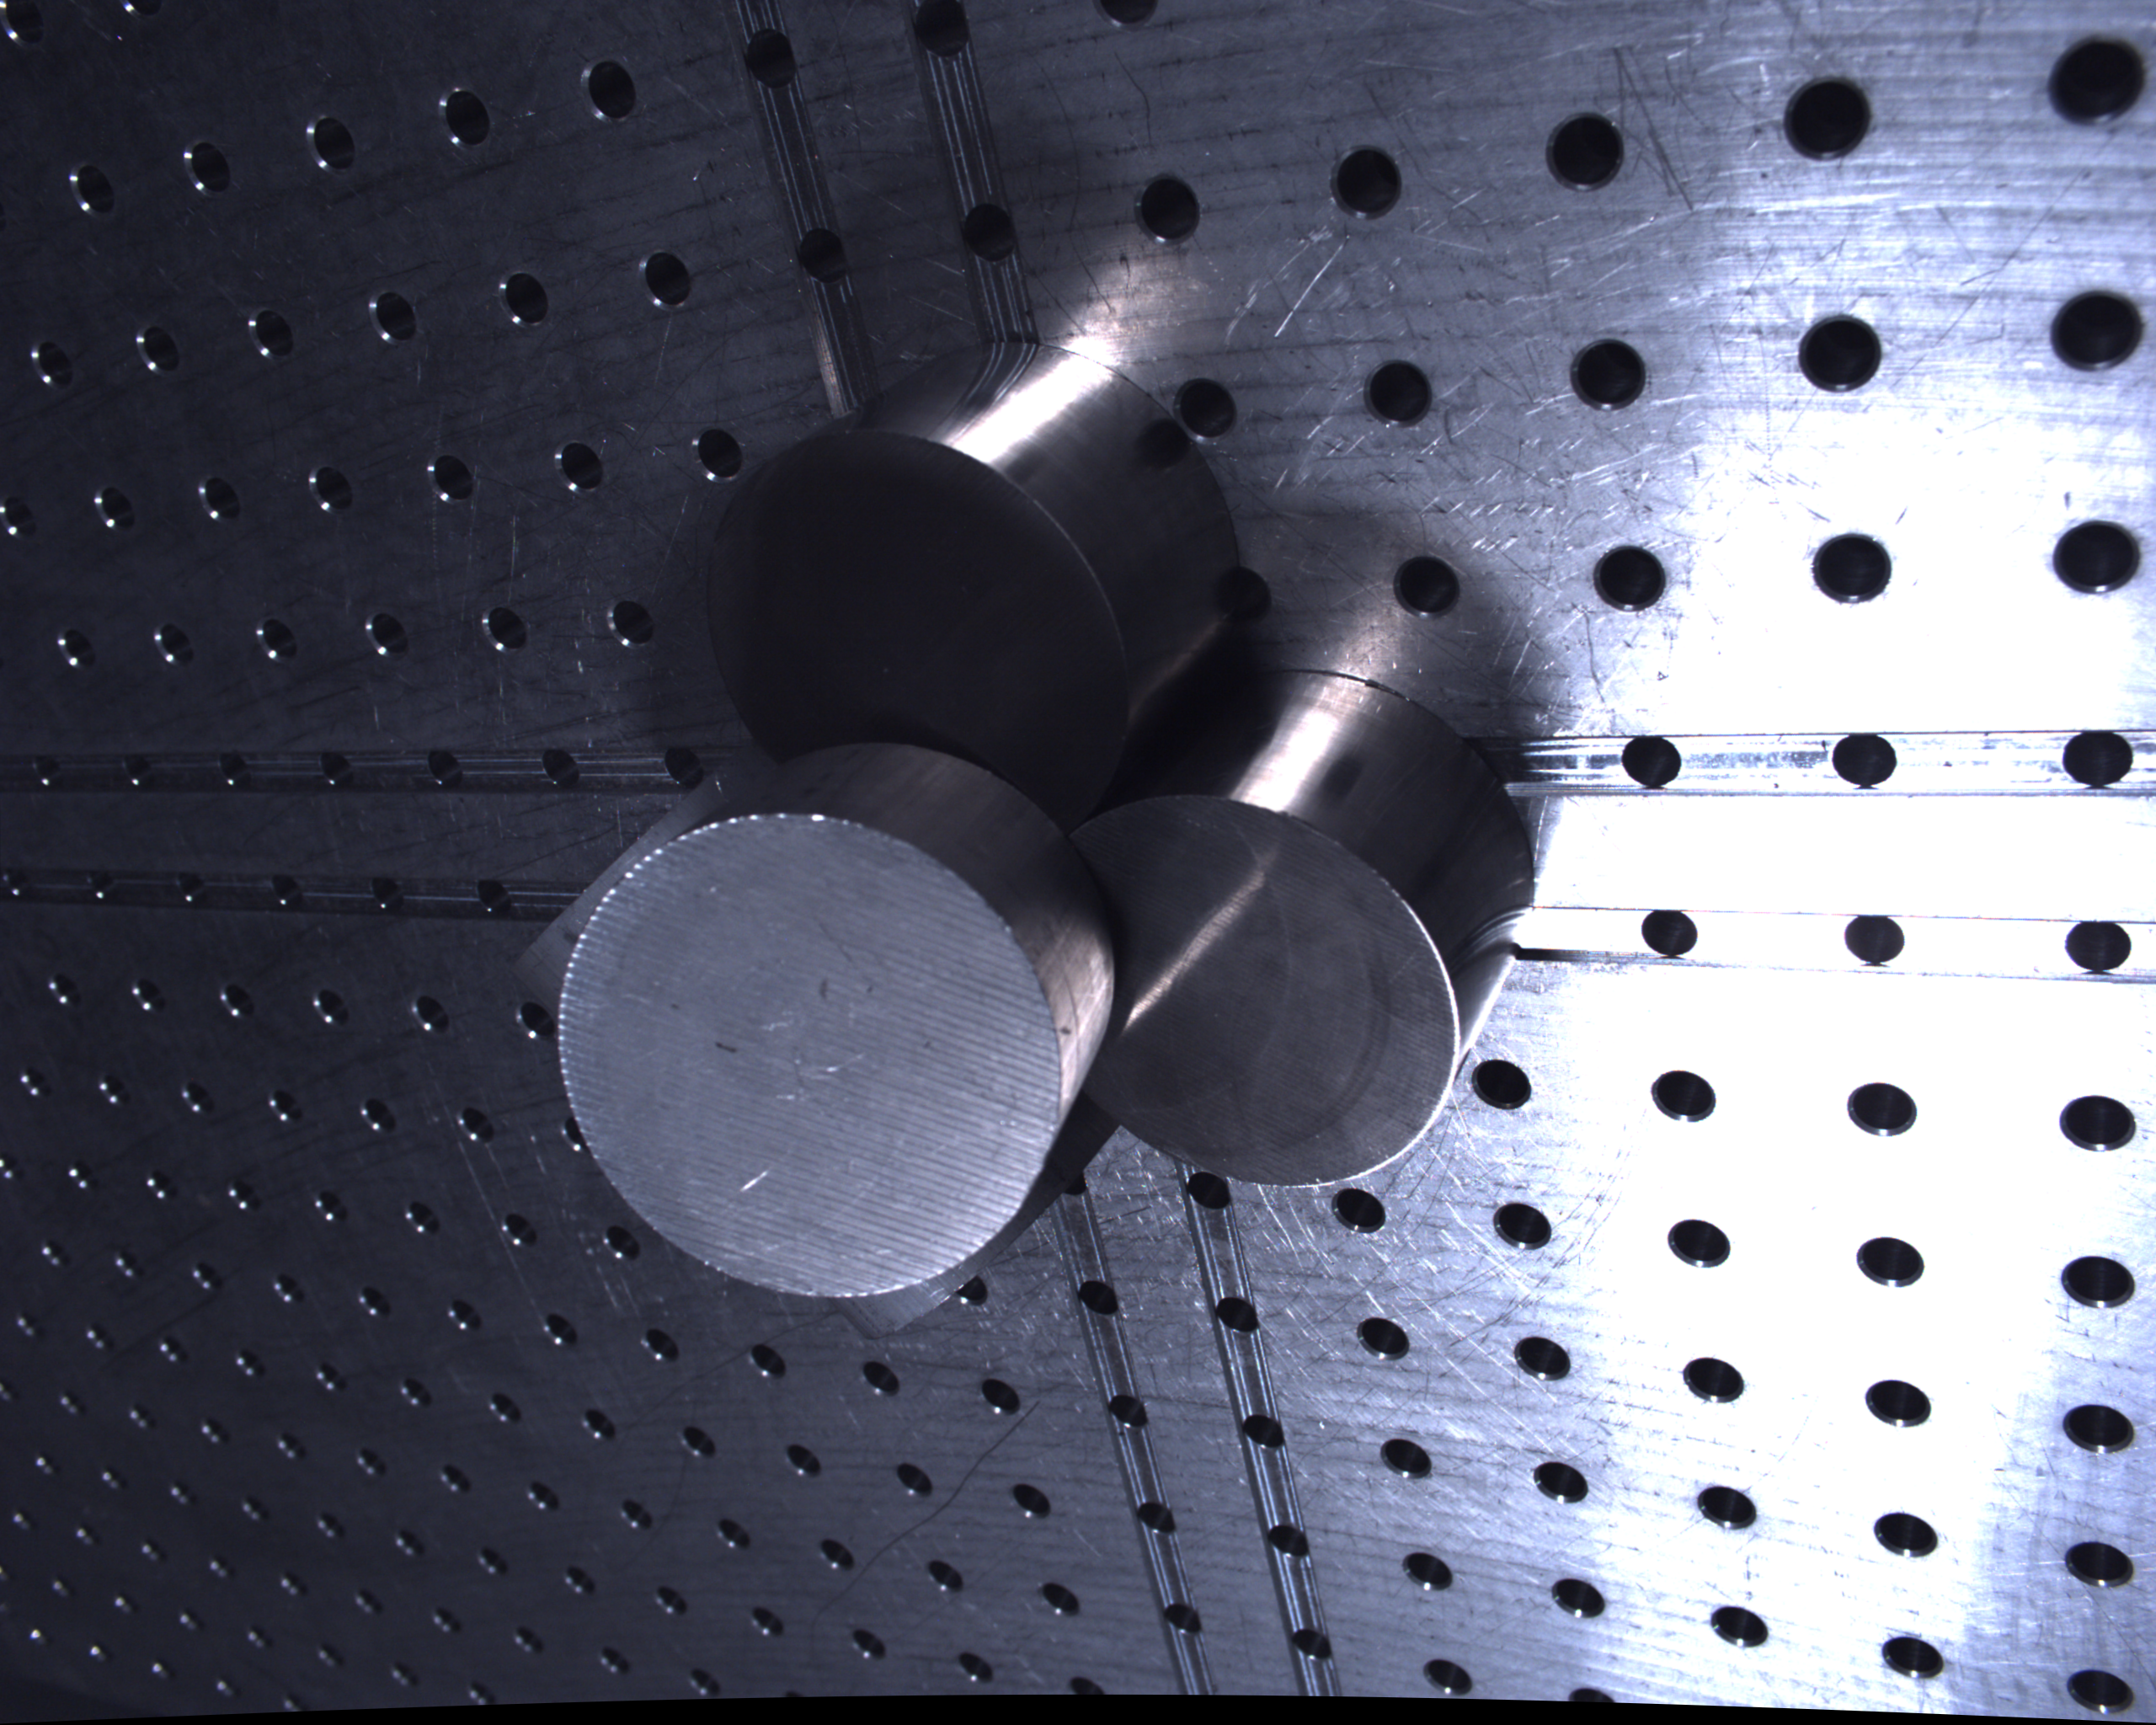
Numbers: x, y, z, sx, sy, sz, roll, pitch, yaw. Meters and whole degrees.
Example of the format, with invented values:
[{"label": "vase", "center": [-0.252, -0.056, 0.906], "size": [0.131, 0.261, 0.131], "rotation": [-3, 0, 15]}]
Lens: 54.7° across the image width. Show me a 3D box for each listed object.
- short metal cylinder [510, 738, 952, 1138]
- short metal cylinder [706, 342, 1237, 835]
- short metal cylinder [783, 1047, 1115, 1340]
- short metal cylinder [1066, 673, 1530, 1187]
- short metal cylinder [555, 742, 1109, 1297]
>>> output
[{"label": "short metal cylinder", "center": [-0.065, 0.012, 0.415], "size": [0.050, 0.080, 0.080], "rotation": [47, 129, -5]}, {"label": "short metal cylinder", "center": [-0.018, -0.047, 0.373], "size": [0.080, 0.050, 0.079], "rotation": [13, 124, 20]}, {"label": "short metal cylinder", "center": [-0.032, 0.049, 0.421], "size": [0.050, 0.080, 0.080], "rotation": [47, 129, -5]}, {"label": "short metal cylinder", "center": [0.037, 0.012, 0.381], "size": [0.080, 0.050, 0.079], "rotation": [13, 124, 20]}, {"label": "short metal cylinder", "center": [-0.038, 0.024, 0.345], "size": [0.080, 0.050, 0.079], "rotation": [2, 106, 9]}]
